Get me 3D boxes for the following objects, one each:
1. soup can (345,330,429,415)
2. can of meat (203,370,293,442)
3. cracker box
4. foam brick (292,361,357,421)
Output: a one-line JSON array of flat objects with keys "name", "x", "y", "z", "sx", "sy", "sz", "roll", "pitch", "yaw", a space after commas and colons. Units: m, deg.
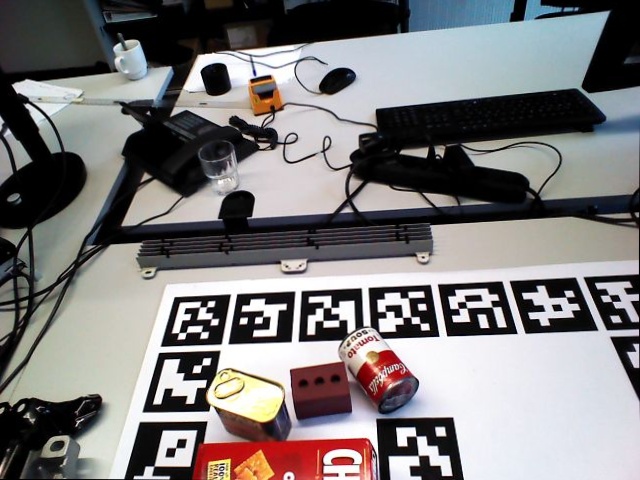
[{"name": "soup can", "x": 0.090, "y": 0.179, "z": 0.709, "sx": 0.067, "sy": 0.068, "sz": 0.102, "roll": -32, "pitch": 44, "yaw": -18}, {"name": "can of meat", "x": -0.091, "y": 0.222, "z": 0.680, "sx": 0.102, "sy": 0.084, "sz": 0.057, "roll": 7, "pitch": 49, "yaw": 17}, {"name": "cracker box", "x": -0.045, "y": 0.316, "z": 0.572, "sx": 0.214, "sy": 0.072, "sz": 0.163, "roll": -10, "pitch": 45, "yaw": 7}, {"name": "foam brick", "x": 0.007, "y": 0.205, "z": 0.702, "sx": 0.078, "sy": 0.051, "sz": 0.052, "roll": -11, "pitch": 47, "yaw": 0}]
